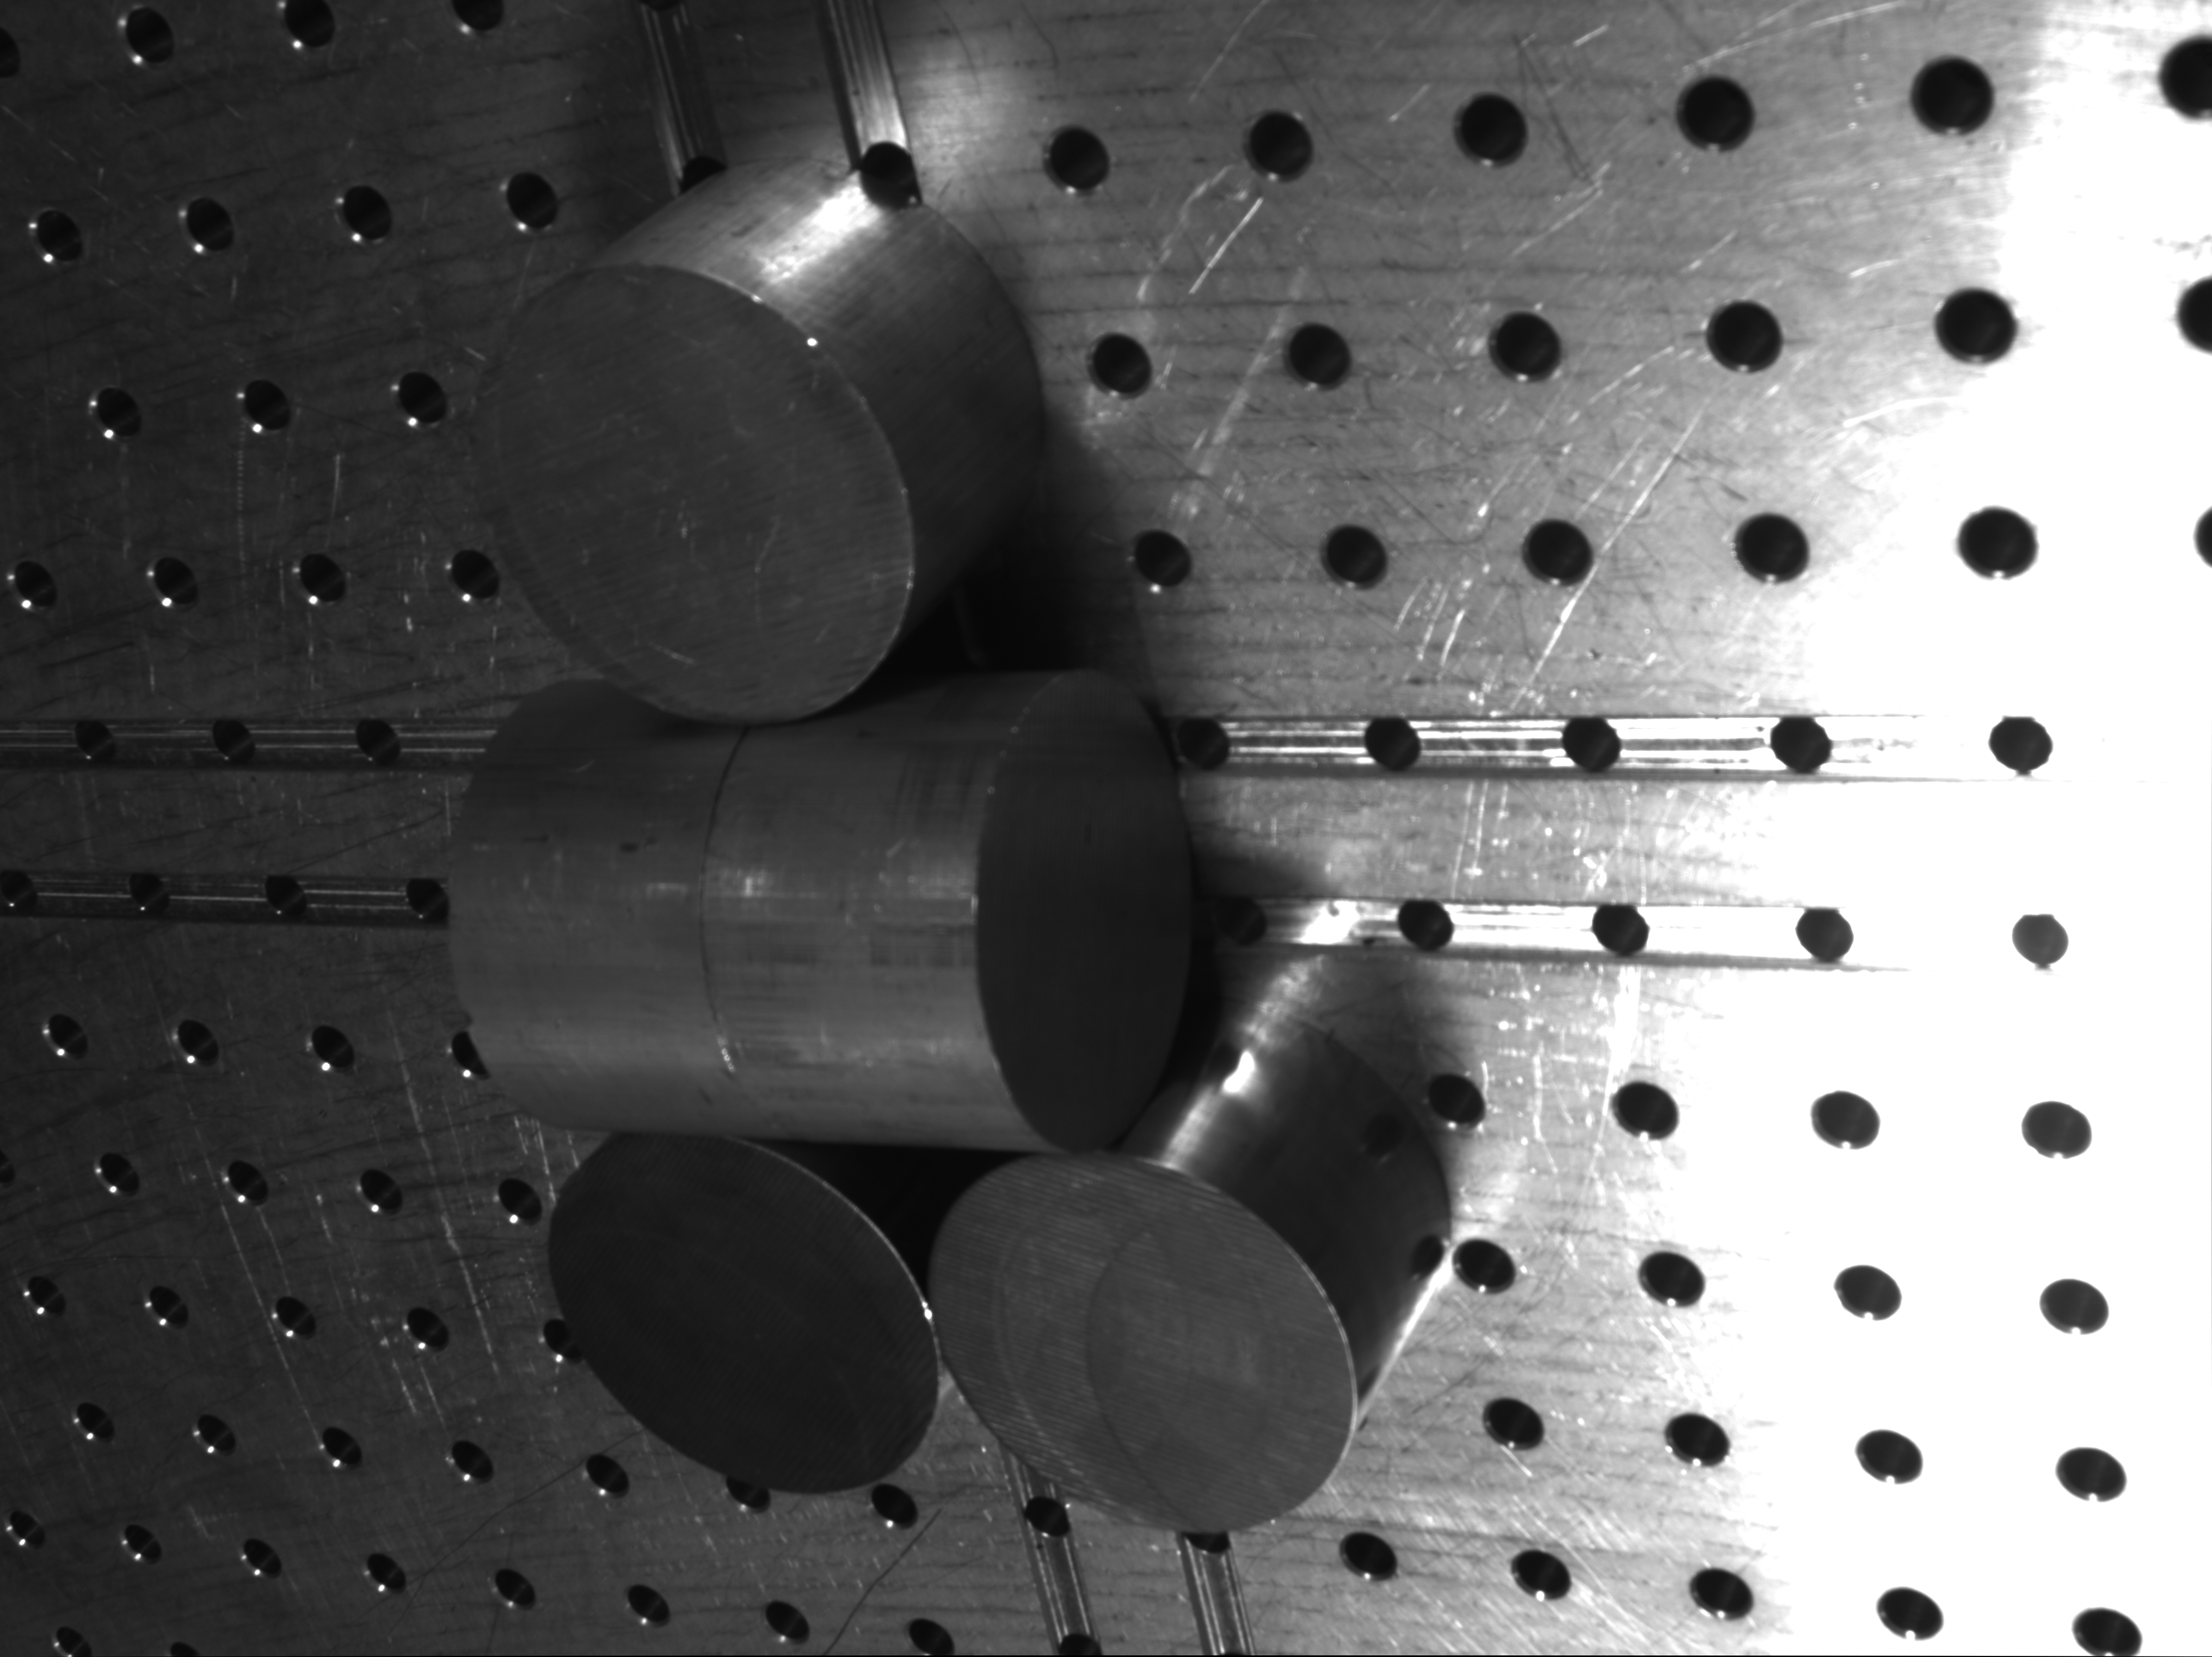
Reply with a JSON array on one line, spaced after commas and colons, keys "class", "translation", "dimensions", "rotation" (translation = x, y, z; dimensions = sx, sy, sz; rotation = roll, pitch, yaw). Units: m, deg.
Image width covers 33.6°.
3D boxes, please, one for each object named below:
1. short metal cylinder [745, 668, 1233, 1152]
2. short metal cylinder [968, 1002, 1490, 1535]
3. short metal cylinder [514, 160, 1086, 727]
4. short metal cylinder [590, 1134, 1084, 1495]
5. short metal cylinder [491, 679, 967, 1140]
[{"class": "short metal cylinder", "translation": [-0.018, 0.013, 0.617], "dimensions": [0.050, 0.080, 0.080], "rotation": [0, 118, 27]}, {"class": "short metal cylinder", "translation": [0.022, 0.078, 0.652], "dimensions": [0.080, 0.050, 0.080], "rotation": [12, 123, 20]}, {"class": "short metal cylinder", "translation": [-0.050, -0.064, 0.605], "dimensions": [0.080, 0.050, 0.080], "rotation": [12, 123, 20]}, {"class": "short metal cylinder", "translation": [-0.049, 0.078, 0.688], "dimensions": [0.080, 0.050, 0.080], "rotation": [12, 123, 20]}, {"class": "short metal cylinder", "translation": [-0.063, 0.014, 0.639], "dimensions": [0.050, 0.080, 0.080], "rotation": [0, 118, 27]}]
